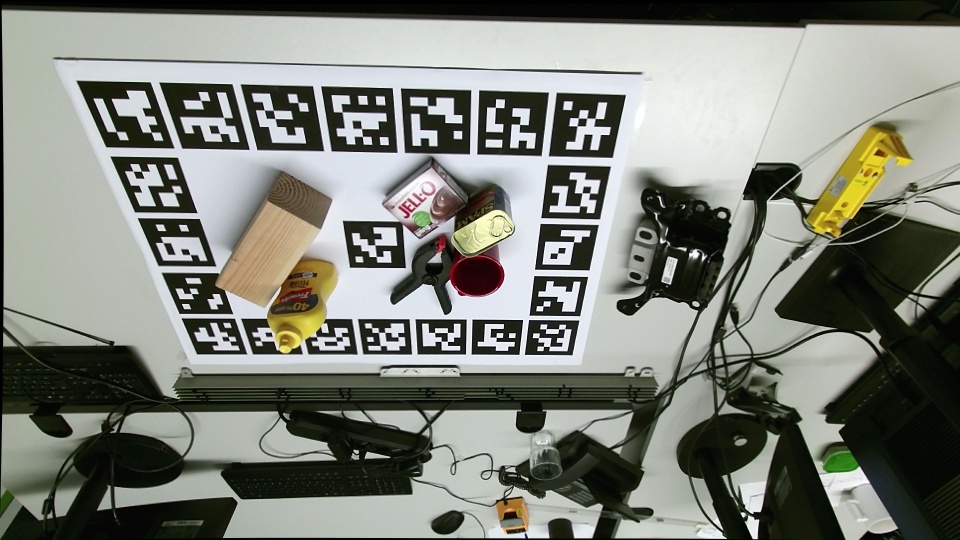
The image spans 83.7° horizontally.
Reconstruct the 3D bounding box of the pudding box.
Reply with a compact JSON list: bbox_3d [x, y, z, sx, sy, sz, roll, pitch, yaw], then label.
[{"bbox_3d":[-0.095,-0.105,0.876,0.114,0.038,0.090,-32,120,21],"label":"pudding box"}]

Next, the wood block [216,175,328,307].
[{"bbox_3d":[-0.348,-0.041,0.886,0.090,0.090,0.206,32,121,-25],"label":"wood block"}]

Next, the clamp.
[{"bbox_3d":[-0.097,0.028,0.980,0.122,0.036,0.165,17,122,-12],"label":"clamp"}]

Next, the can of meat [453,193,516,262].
[{"bbox_3d":[0.004,-0.071,0.871,0.102,0.083,0.058,-25,122,15],"label":"can of meat"}]

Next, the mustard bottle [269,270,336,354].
[{"bbox_3d":[-0.309,0.075,0.904,0.096,0.190,0.058,-4,125,0],"label":"mustard bottle"}]

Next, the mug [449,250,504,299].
[{"bbox_3d":[-0.013,0.000,0.957,0.093,0.081,0.117,19,121,-15],"label":"mug"}]
